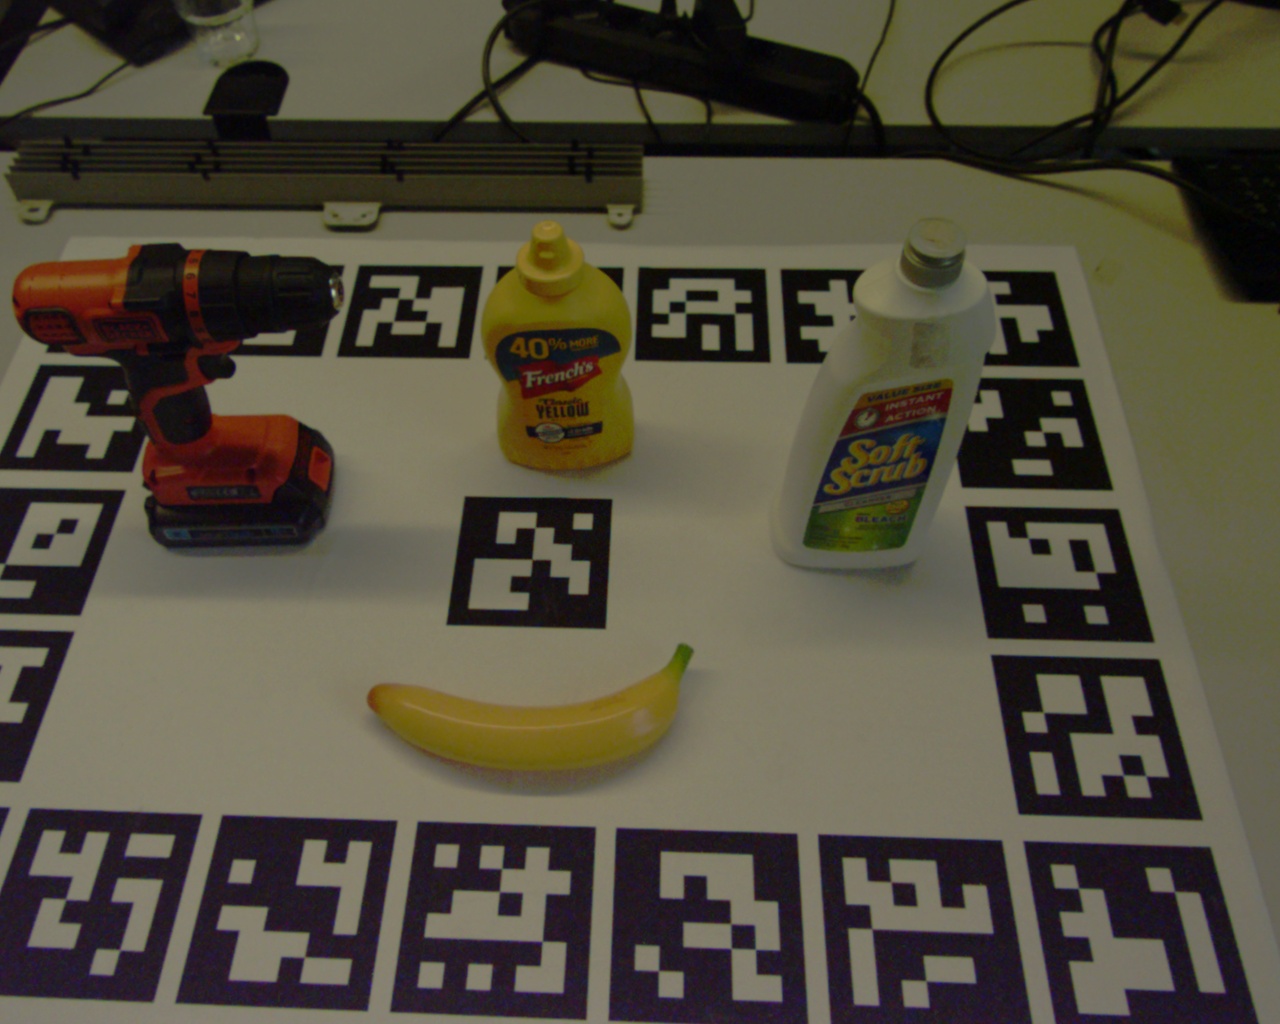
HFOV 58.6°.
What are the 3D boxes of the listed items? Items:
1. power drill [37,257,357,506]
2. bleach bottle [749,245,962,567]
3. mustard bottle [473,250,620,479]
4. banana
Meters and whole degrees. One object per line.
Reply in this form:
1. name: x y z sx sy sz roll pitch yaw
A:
1. power drill: -0.252 -0.081 0.717 0.185 0.186 0.057 -5 56 2
2. bleach bottle: 0.128 -0.060 0.692 0.103 0.250 0.068 8 56 5
3. mustard bottle: -0.062 -0.099 0.762 0.096 0.191 0.059 -4 56 -5
4. banana: -0.070 0.115 0.695 0.197 0.038 0.074 -5 58 2
